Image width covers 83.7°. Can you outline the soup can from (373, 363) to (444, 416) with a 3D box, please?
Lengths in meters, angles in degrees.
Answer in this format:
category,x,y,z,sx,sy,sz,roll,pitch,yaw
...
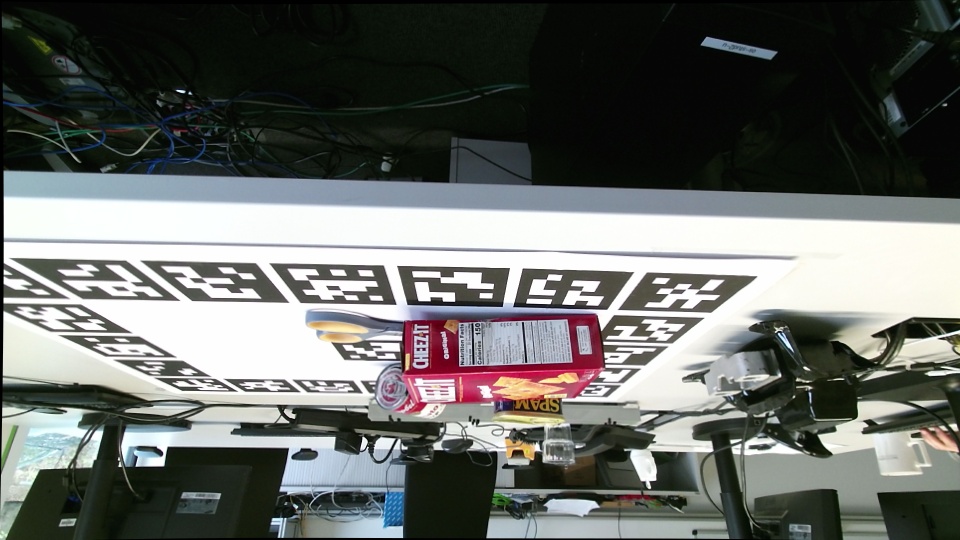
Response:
category,x,y,z,sx,sy,sz,roll,pitch,yaw
soup can,-0.102,0.184,0.818,0.068,0.067,0.102,-19,152,31

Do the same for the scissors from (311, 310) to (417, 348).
category,x,y,z,sx,sy,sz,roll,pitch,yaw
scissors,-0.085,0.067,0.614,0.203,0.016,0.088,-1,151,3

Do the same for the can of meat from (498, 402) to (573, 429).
category,x,y,z,sx,sy,sz,roll,pitch,yaw
can of meat,0.078,0.176,0.762,0.102,0.083,0.058,8,150,-13

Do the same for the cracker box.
category,x,y,z,sx,sy,sz,roll,pitch,yaw
cracker box,0.030,0.114,0.633,0.214,0.071,0.164,-4,152,1
